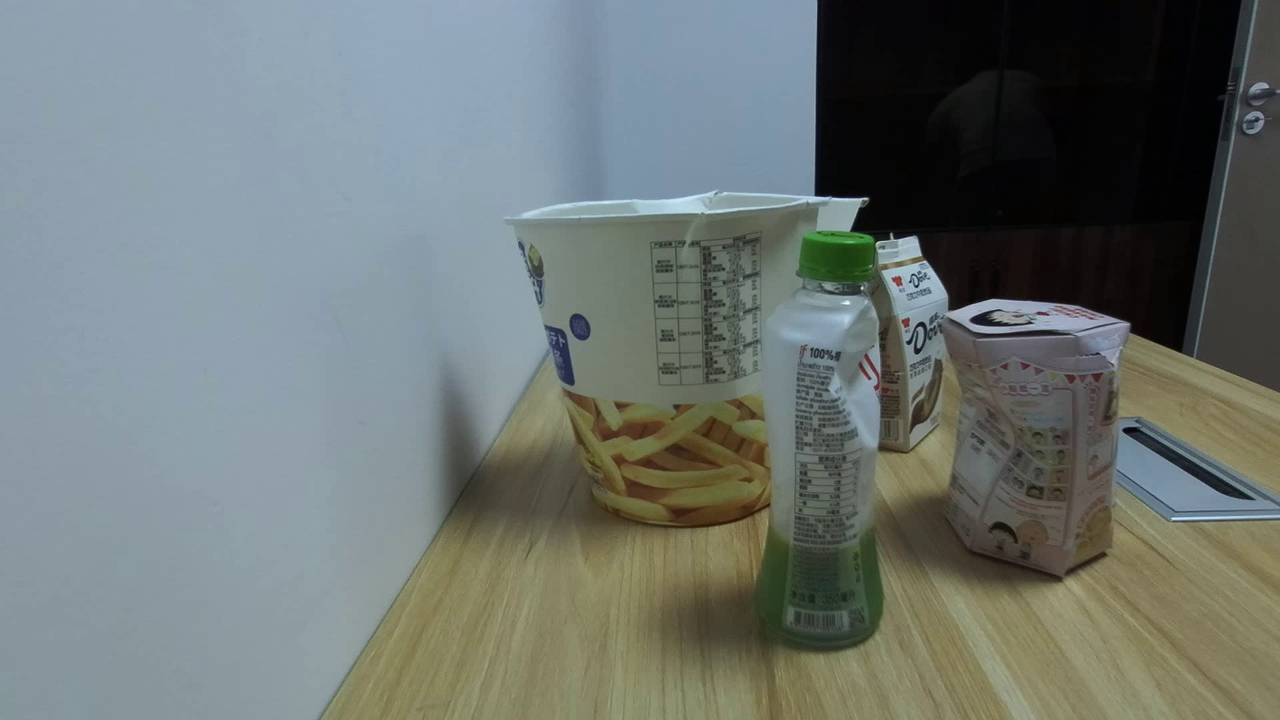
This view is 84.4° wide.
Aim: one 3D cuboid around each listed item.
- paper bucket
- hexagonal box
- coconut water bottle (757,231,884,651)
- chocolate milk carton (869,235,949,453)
[{"bbox_3d":[0.037,-0.009,0.477,0.203,0.197,0.145,-13,20,-31],"label":"paper bucket"},{"bbox_3d":[0.215,0.040,0.395,0.089,0.134,0.091,8,20,42],"label":"hexagonal box"},{"bbox_3d":[0.088,0.039,0.337,0.069,0.186,0.069,0,4,0],"label":"coconut water bottle"},{"bbox_3d":[0.191,-0.017,0.550,0.072,0.155,0.085,10,21,39],"label":"chocolate milk carton"}]
